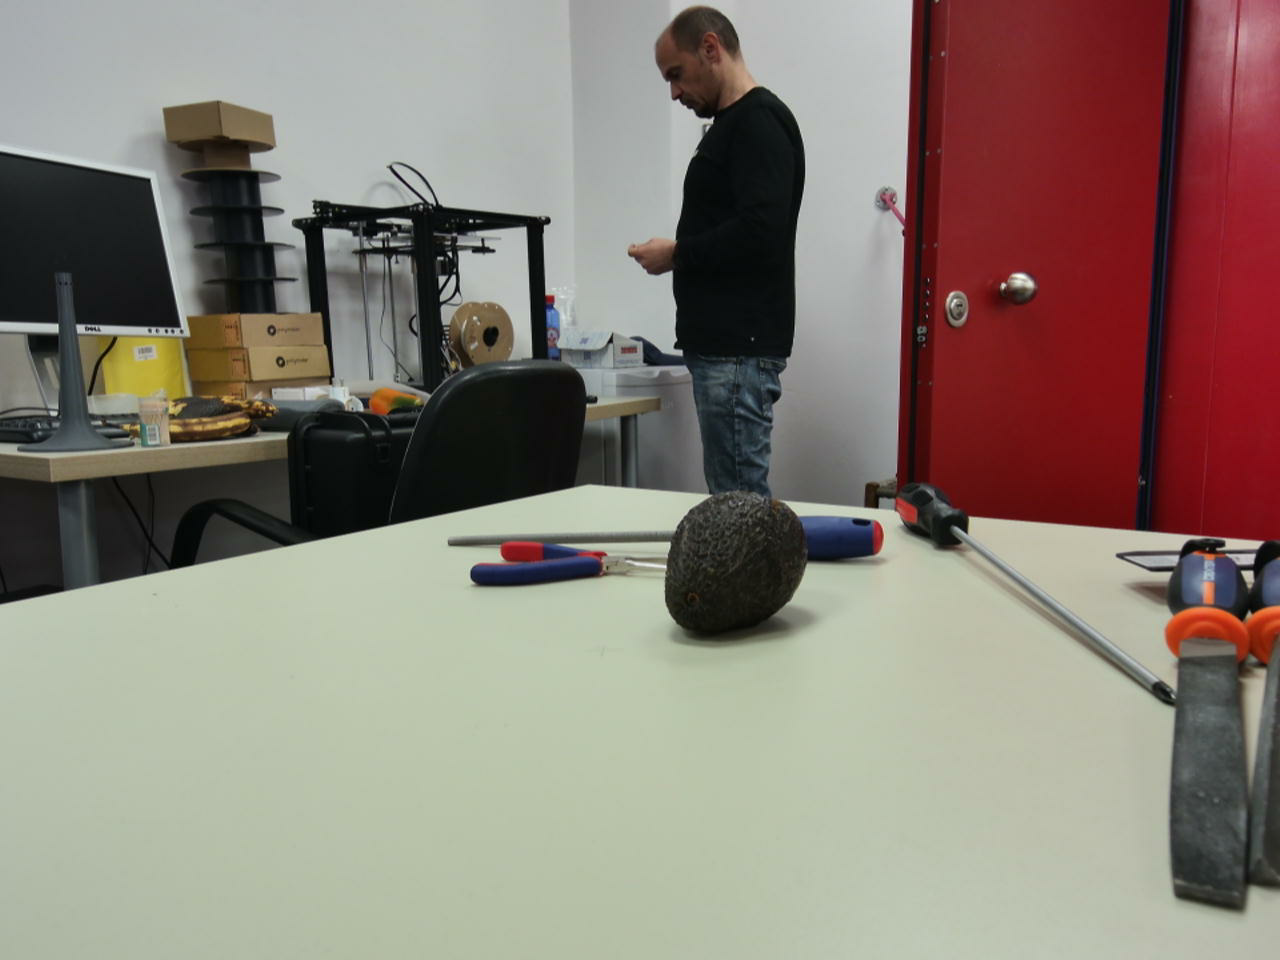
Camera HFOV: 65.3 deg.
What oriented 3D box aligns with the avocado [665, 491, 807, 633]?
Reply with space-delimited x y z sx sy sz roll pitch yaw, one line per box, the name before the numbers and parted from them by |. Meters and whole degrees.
avocado | 0.047 0.041 0.526 0.090 0.069 0.070 -3 6 -29
